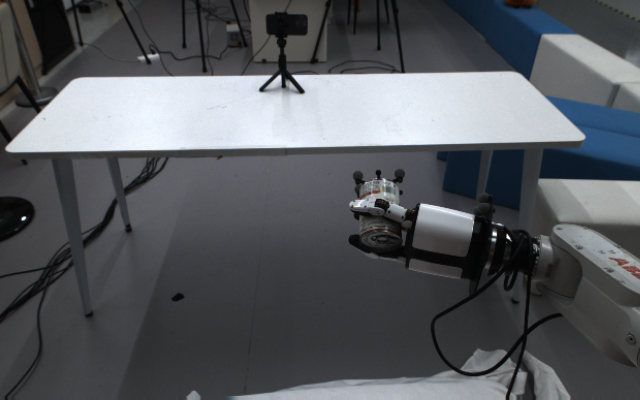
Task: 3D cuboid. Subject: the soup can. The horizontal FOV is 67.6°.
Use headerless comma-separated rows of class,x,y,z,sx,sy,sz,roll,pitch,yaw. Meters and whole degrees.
soup can,0.097,0.023,0.777,0.067,0.067,0.101,3,57,1
